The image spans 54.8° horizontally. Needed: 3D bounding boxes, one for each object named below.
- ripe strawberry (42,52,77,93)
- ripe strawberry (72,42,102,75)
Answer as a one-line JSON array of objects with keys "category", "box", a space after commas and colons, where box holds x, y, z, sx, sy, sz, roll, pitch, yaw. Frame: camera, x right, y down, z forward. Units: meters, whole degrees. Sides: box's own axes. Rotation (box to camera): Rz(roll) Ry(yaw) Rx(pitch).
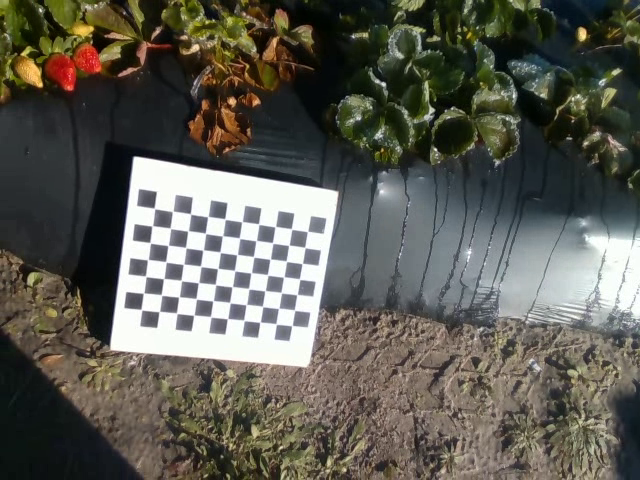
[{"category": "ripe strawberry", "box": [-0.302, -0.194, 0.730, 0.036, 0.052, 0.040, -31, -24, -8]}, {"category": "ripe strawberry", "box": [-0.279, -0.220, 0.750, 0.041, 0.036, 0.030, 36, -1, -10]}]
